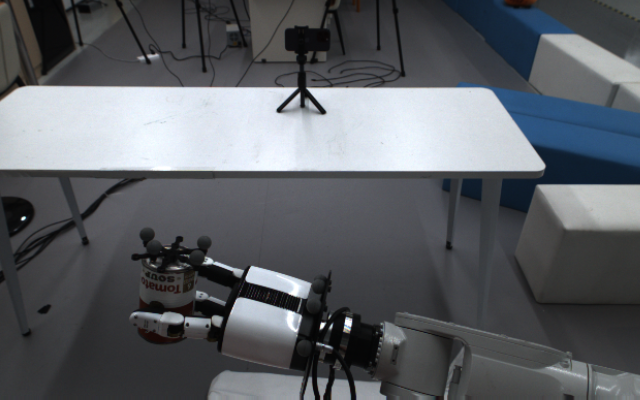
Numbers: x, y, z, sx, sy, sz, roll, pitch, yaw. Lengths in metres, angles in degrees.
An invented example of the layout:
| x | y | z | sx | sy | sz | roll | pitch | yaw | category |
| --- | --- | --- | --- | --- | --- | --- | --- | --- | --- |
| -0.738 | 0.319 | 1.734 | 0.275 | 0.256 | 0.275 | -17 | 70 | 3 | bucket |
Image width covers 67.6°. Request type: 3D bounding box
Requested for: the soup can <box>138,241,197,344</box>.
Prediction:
| x | y | z | sx | sy | sz | roll | pitch | yaw | category |
| --- | --- | --- | --- | --- | --- | --- | --- | --- | --- |
| -0.184 | 0.116 | 0.593 | 0.067 | 0.101 | 0.067 | 9 | 20 | -3 | soup can |
